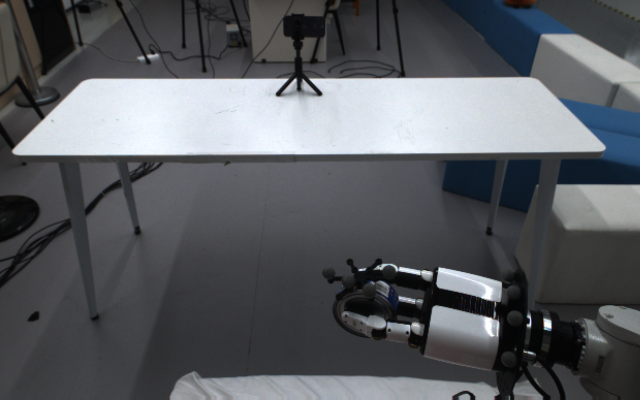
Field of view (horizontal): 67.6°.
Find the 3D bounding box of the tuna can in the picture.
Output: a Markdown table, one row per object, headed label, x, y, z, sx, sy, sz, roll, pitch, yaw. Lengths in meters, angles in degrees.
| label | x | y | z | sx | sy | sz | roll | pitch | yaw |
| --- | --- | --- | --- | --- | --- | --- | --- | --- | --- |
| tuna can | 0.065 | 0.142 | 0.646 | 0.085 | 0.085 | 0.034 | 10 | 33 | 11 |
